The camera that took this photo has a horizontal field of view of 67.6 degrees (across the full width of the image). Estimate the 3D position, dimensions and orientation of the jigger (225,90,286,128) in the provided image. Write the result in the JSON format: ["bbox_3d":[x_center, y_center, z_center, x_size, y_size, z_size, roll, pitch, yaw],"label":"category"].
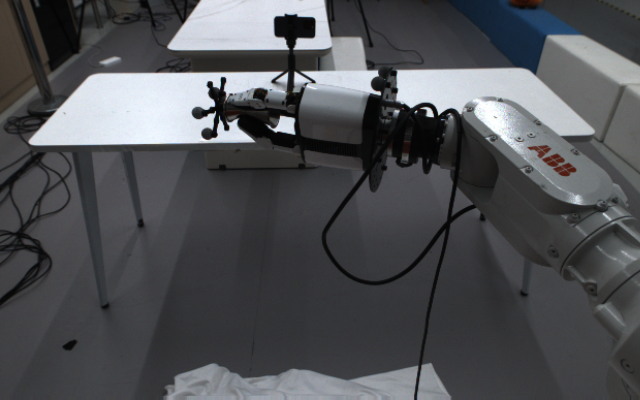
[{"bbox_3d":[-0.092,-0.130,0.669,0.071,0.043,0.043,7,35,14],"label":"jigger"}]
